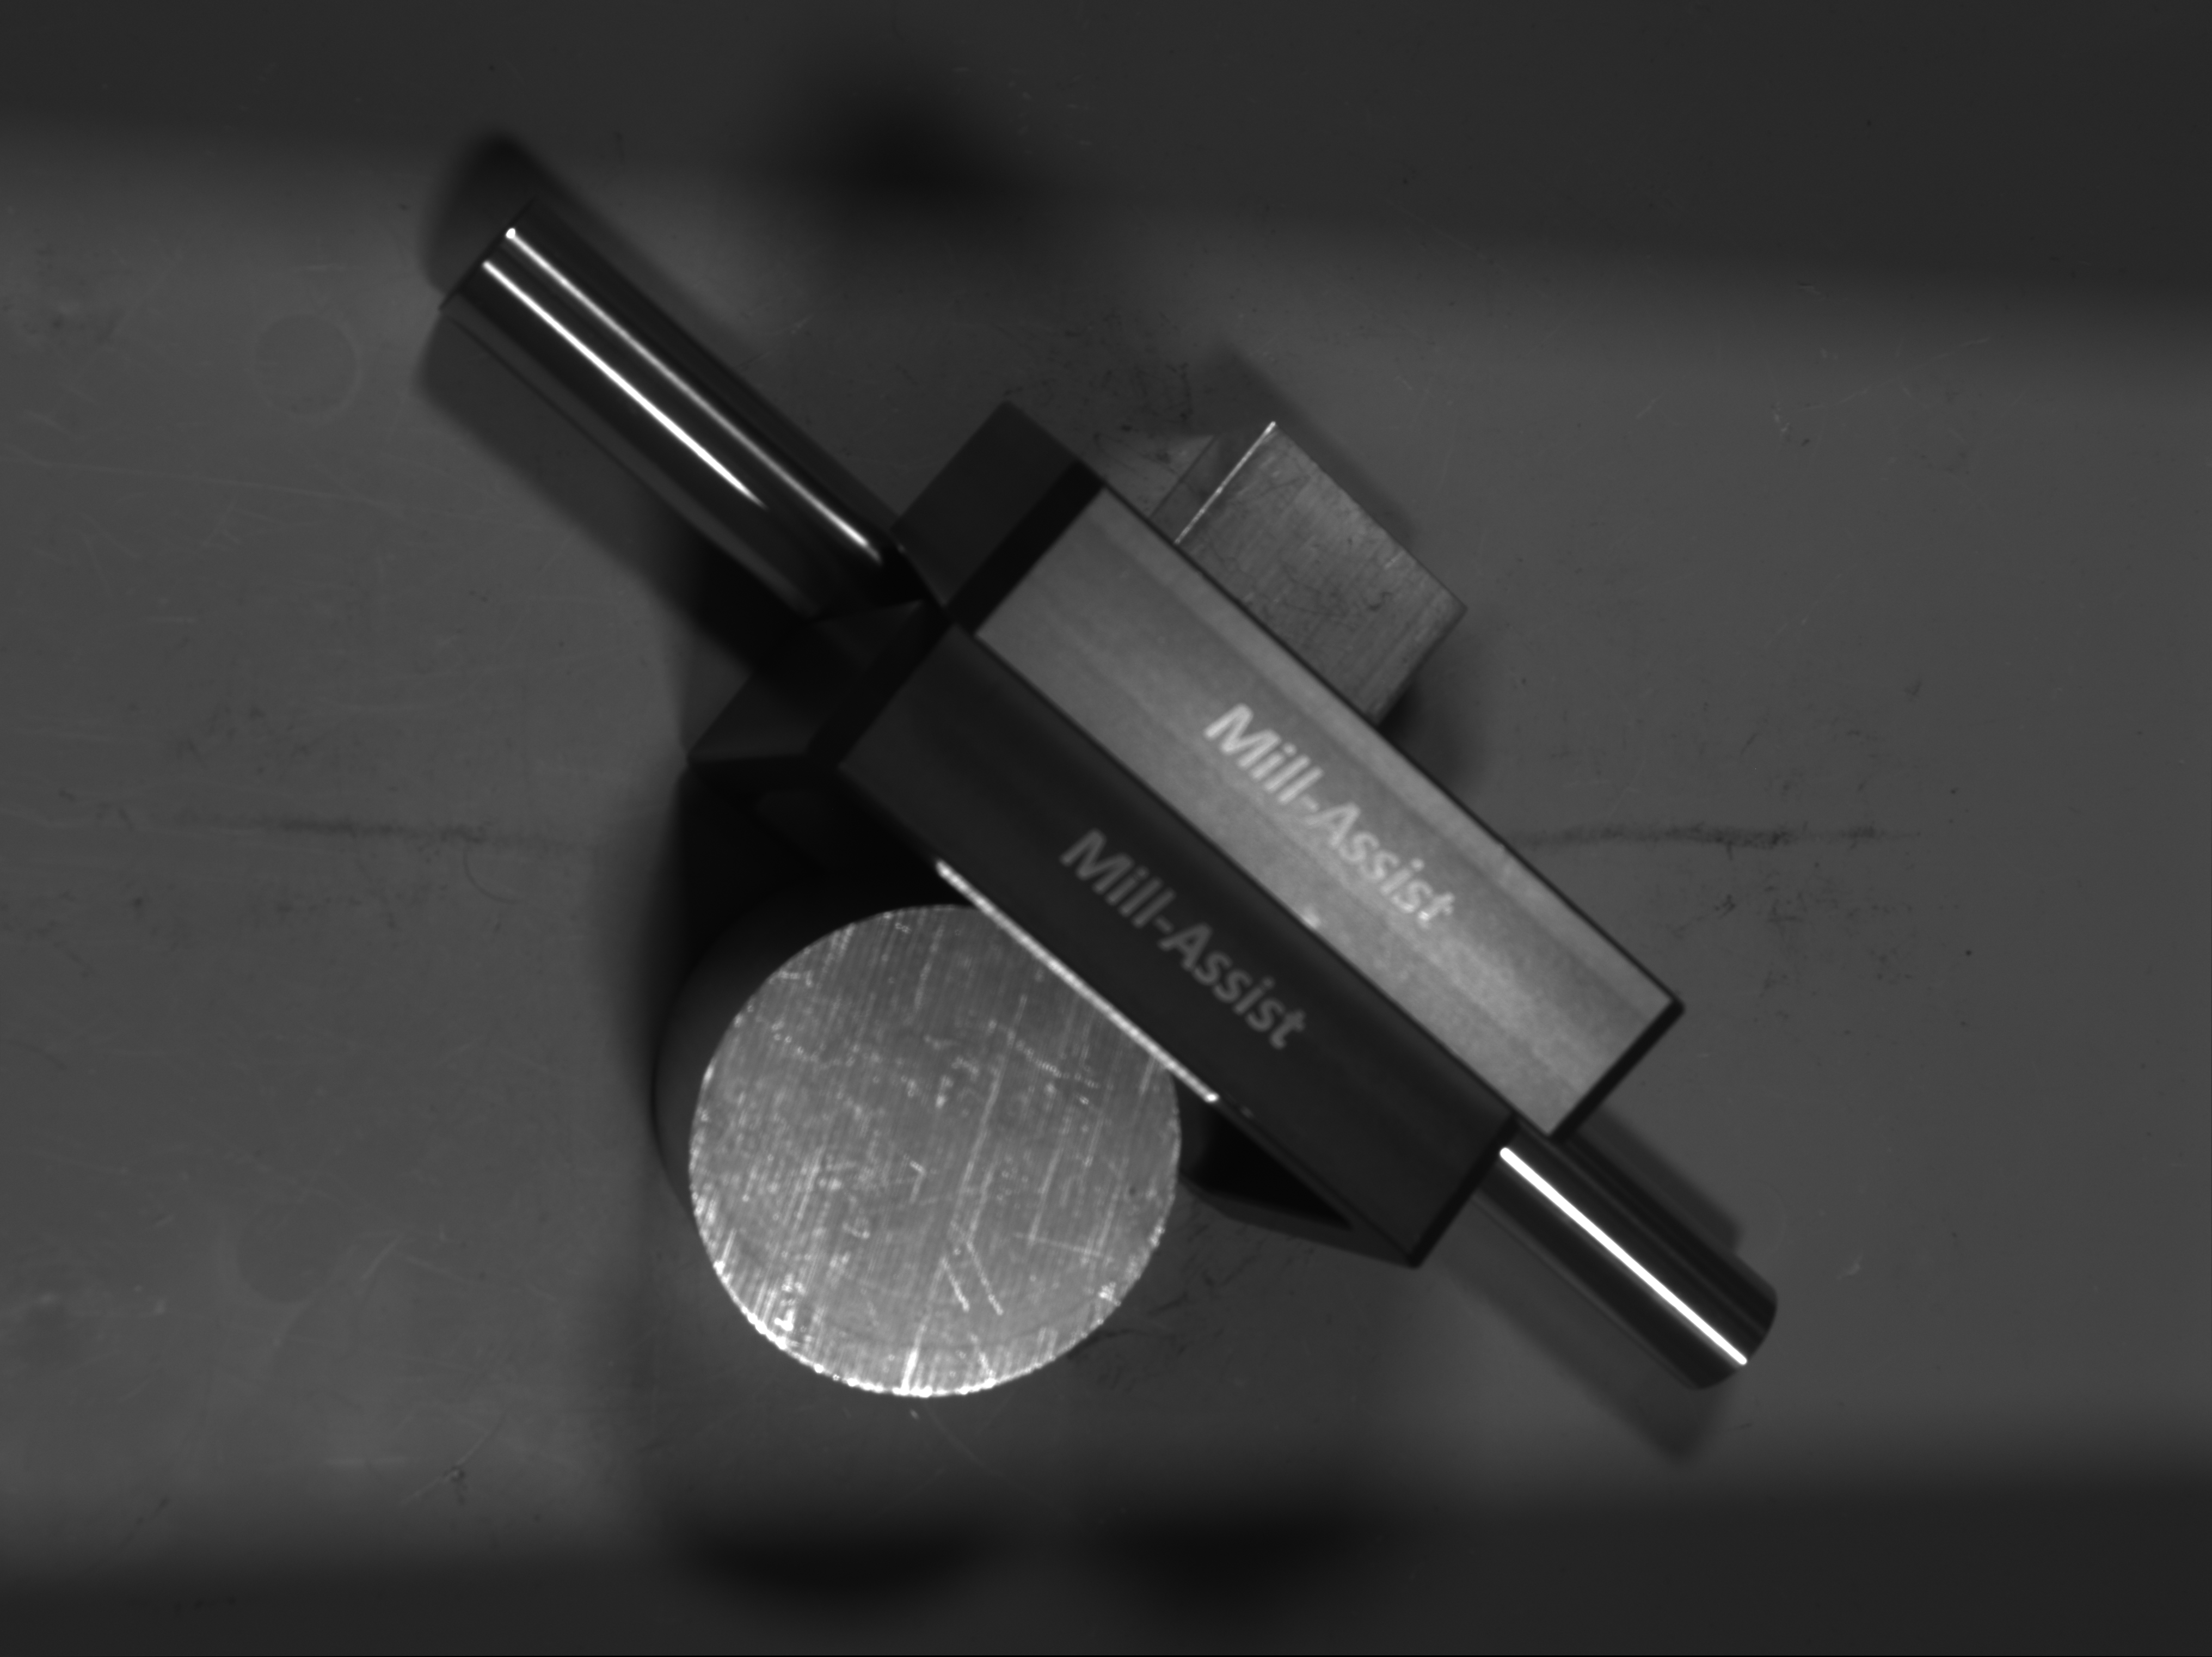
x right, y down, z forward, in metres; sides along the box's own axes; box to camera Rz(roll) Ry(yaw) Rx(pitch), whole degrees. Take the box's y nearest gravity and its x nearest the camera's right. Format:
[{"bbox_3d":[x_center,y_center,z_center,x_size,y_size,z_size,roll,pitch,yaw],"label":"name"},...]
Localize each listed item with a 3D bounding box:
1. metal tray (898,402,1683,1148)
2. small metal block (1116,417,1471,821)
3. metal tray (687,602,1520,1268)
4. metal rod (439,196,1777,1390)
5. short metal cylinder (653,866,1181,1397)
[{"bbox_3d":[0.027,-0.011,0.591,0.130,0.090,0.030,41,94,-15],"label":"metal tray"},{"bbox_3d":[0.028,-0.037,0.652,0.050,0.025,0.050,42,77,-15],"label":"small metal block"},{"bbox_3d":[-0.002,0.018,0.607,0.130,0.090,0.030,41,77,-15],"label":"metal tray"},{"bbox_3d":[0.007,0.000,0.646,0.300,0.025,0.025,41,77,-15],"label":"metal rod"},{"bbox_3d":[-0.033,0.049,0.611,0.080,0.050,0.080,-2,97,-14],"label":"short metal cylinder"}]
